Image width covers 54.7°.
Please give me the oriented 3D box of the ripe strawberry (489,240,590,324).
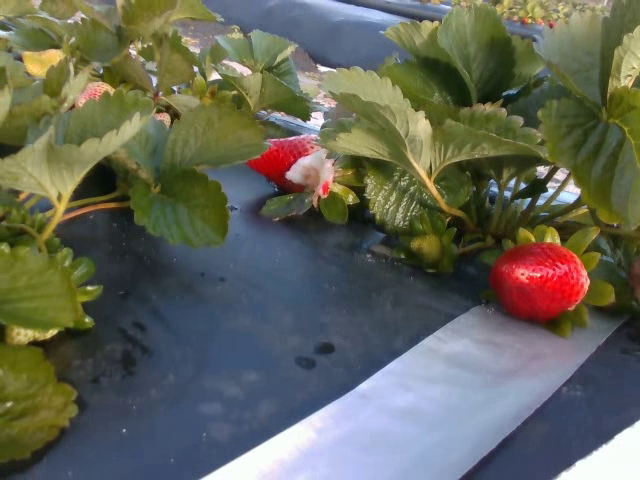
[{"bbox_3d":[0.083,0.013,0.235,0.055,0.036,0.050,-10,38,-38],"label":"ripe strawberry"}]
